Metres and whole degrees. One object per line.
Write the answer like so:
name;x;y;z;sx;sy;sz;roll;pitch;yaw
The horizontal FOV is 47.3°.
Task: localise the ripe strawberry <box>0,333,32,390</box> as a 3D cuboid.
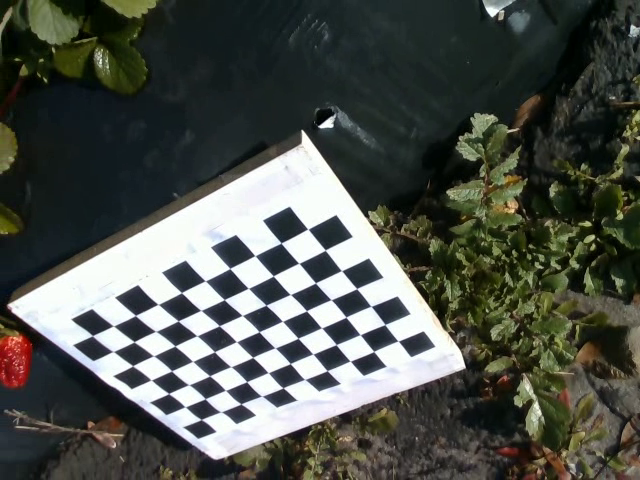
ripe strawberry;-0.098;0.037;0.230;0.015;0.023;0.015;-19;-13;16
